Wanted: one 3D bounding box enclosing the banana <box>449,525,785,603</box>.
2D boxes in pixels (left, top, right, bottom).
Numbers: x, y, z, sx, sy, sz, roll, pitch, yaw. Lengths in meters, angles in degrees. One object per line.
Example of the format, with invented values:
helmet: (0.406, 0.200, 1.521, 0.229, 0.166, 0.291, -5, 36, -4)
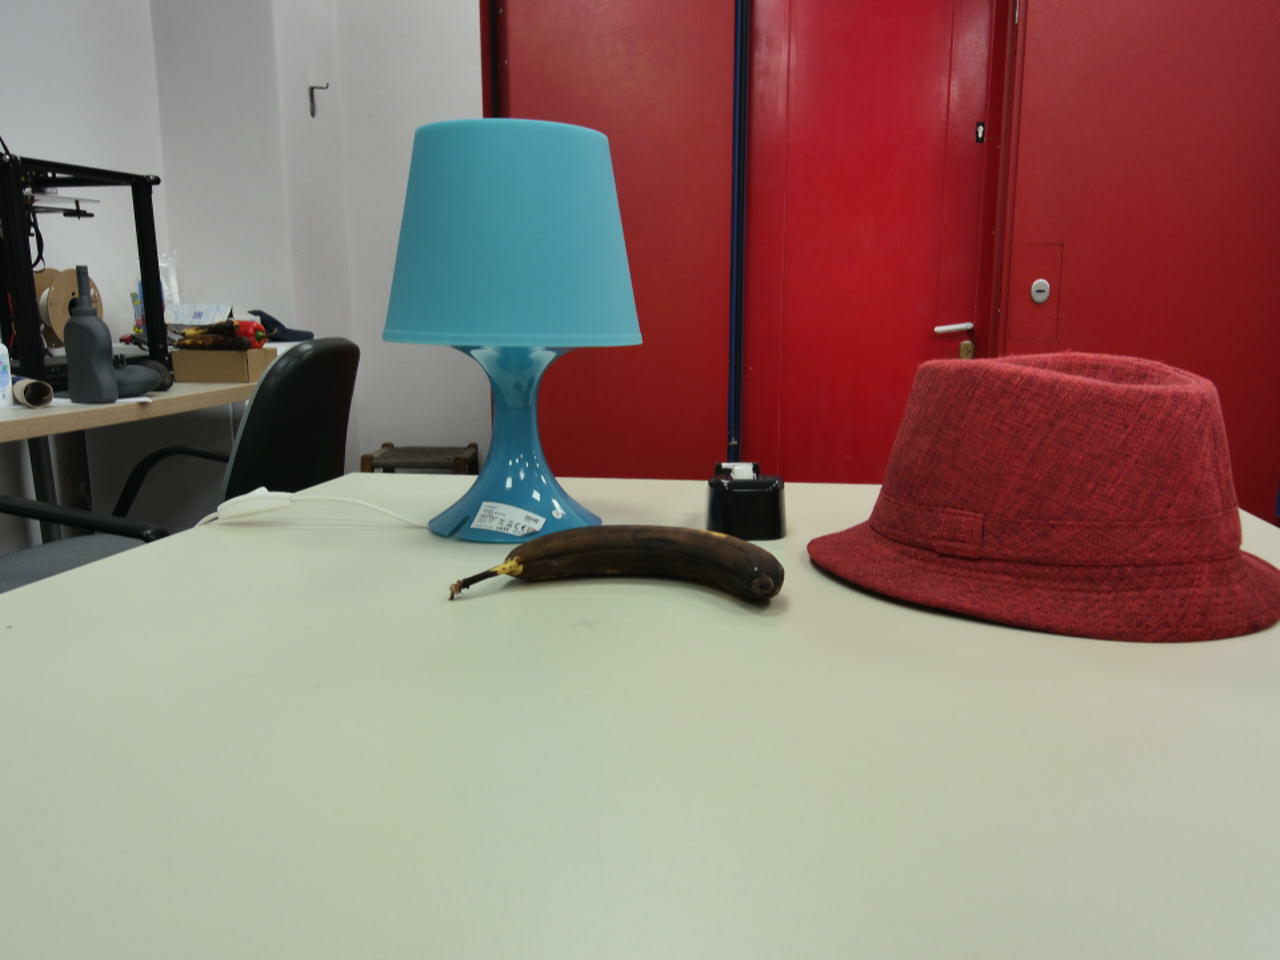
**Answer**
banana: (-0.008, 0.048, 0.590, 0.188, 0.033, 0.091, 1, 8, 13)
